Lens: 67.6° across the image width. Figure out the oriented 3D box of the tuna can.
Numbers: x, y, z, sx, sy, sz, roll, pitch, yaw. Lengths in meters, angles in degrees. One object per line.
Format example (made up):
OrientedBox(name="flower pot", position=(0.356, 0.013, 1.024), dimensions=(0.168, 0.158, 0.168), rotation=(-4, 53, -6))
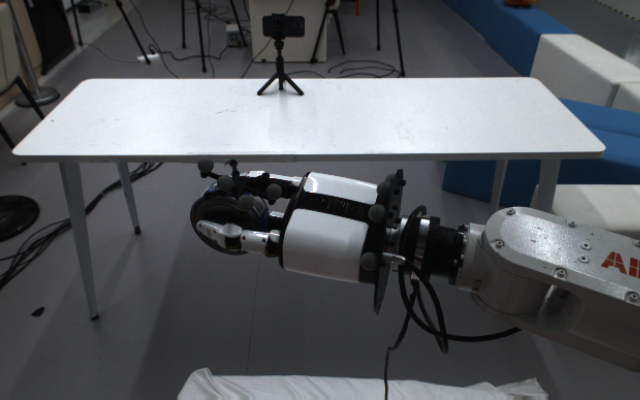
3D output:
OrientedBox(name="tuna can", position=(-0.101, 0.021, 0.558), dimensions=(0.085, 0.085, 0.034), rotation=(9, 35, 10))
